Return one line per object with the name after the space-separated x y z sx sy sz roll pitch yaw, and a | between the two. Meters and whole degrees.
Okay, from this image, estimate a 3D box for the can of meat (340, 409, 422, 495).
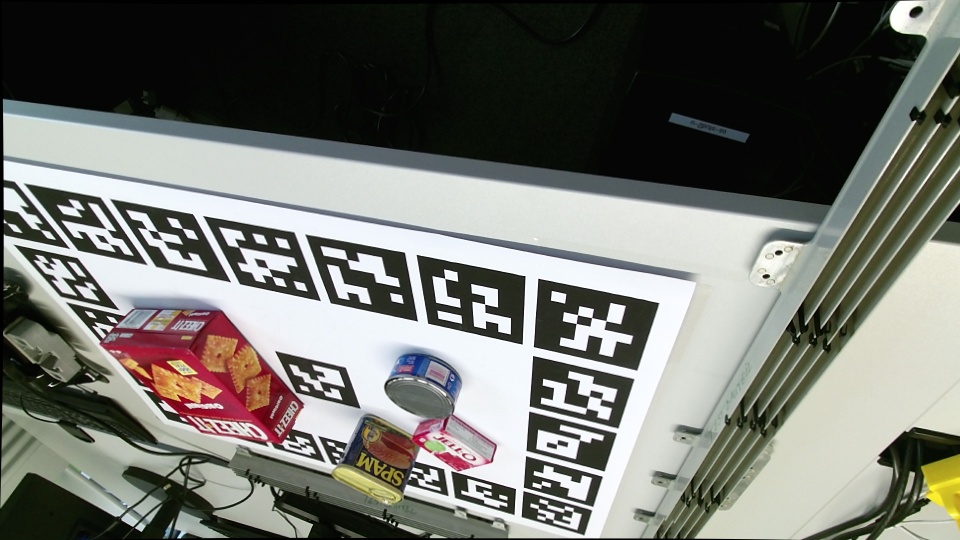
-0.136 0.259 0.768 0.102 0.083 0.058 31 137 -10 | can of meat

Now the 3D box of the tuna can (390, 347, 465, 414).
-0.061 0.129 0.627 0.086 0.033 0.086 11 133 12 | tuna can

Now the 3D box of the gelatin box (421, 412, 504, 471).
-0.024 0.234 0.724 0.089 0.030 0.073 42 137 -16 | gelatin box

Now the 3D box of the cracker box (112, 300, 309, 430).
-0.371 0.136 0.750 0.164 0.072 0.214 -1 134 25 | cracker box
